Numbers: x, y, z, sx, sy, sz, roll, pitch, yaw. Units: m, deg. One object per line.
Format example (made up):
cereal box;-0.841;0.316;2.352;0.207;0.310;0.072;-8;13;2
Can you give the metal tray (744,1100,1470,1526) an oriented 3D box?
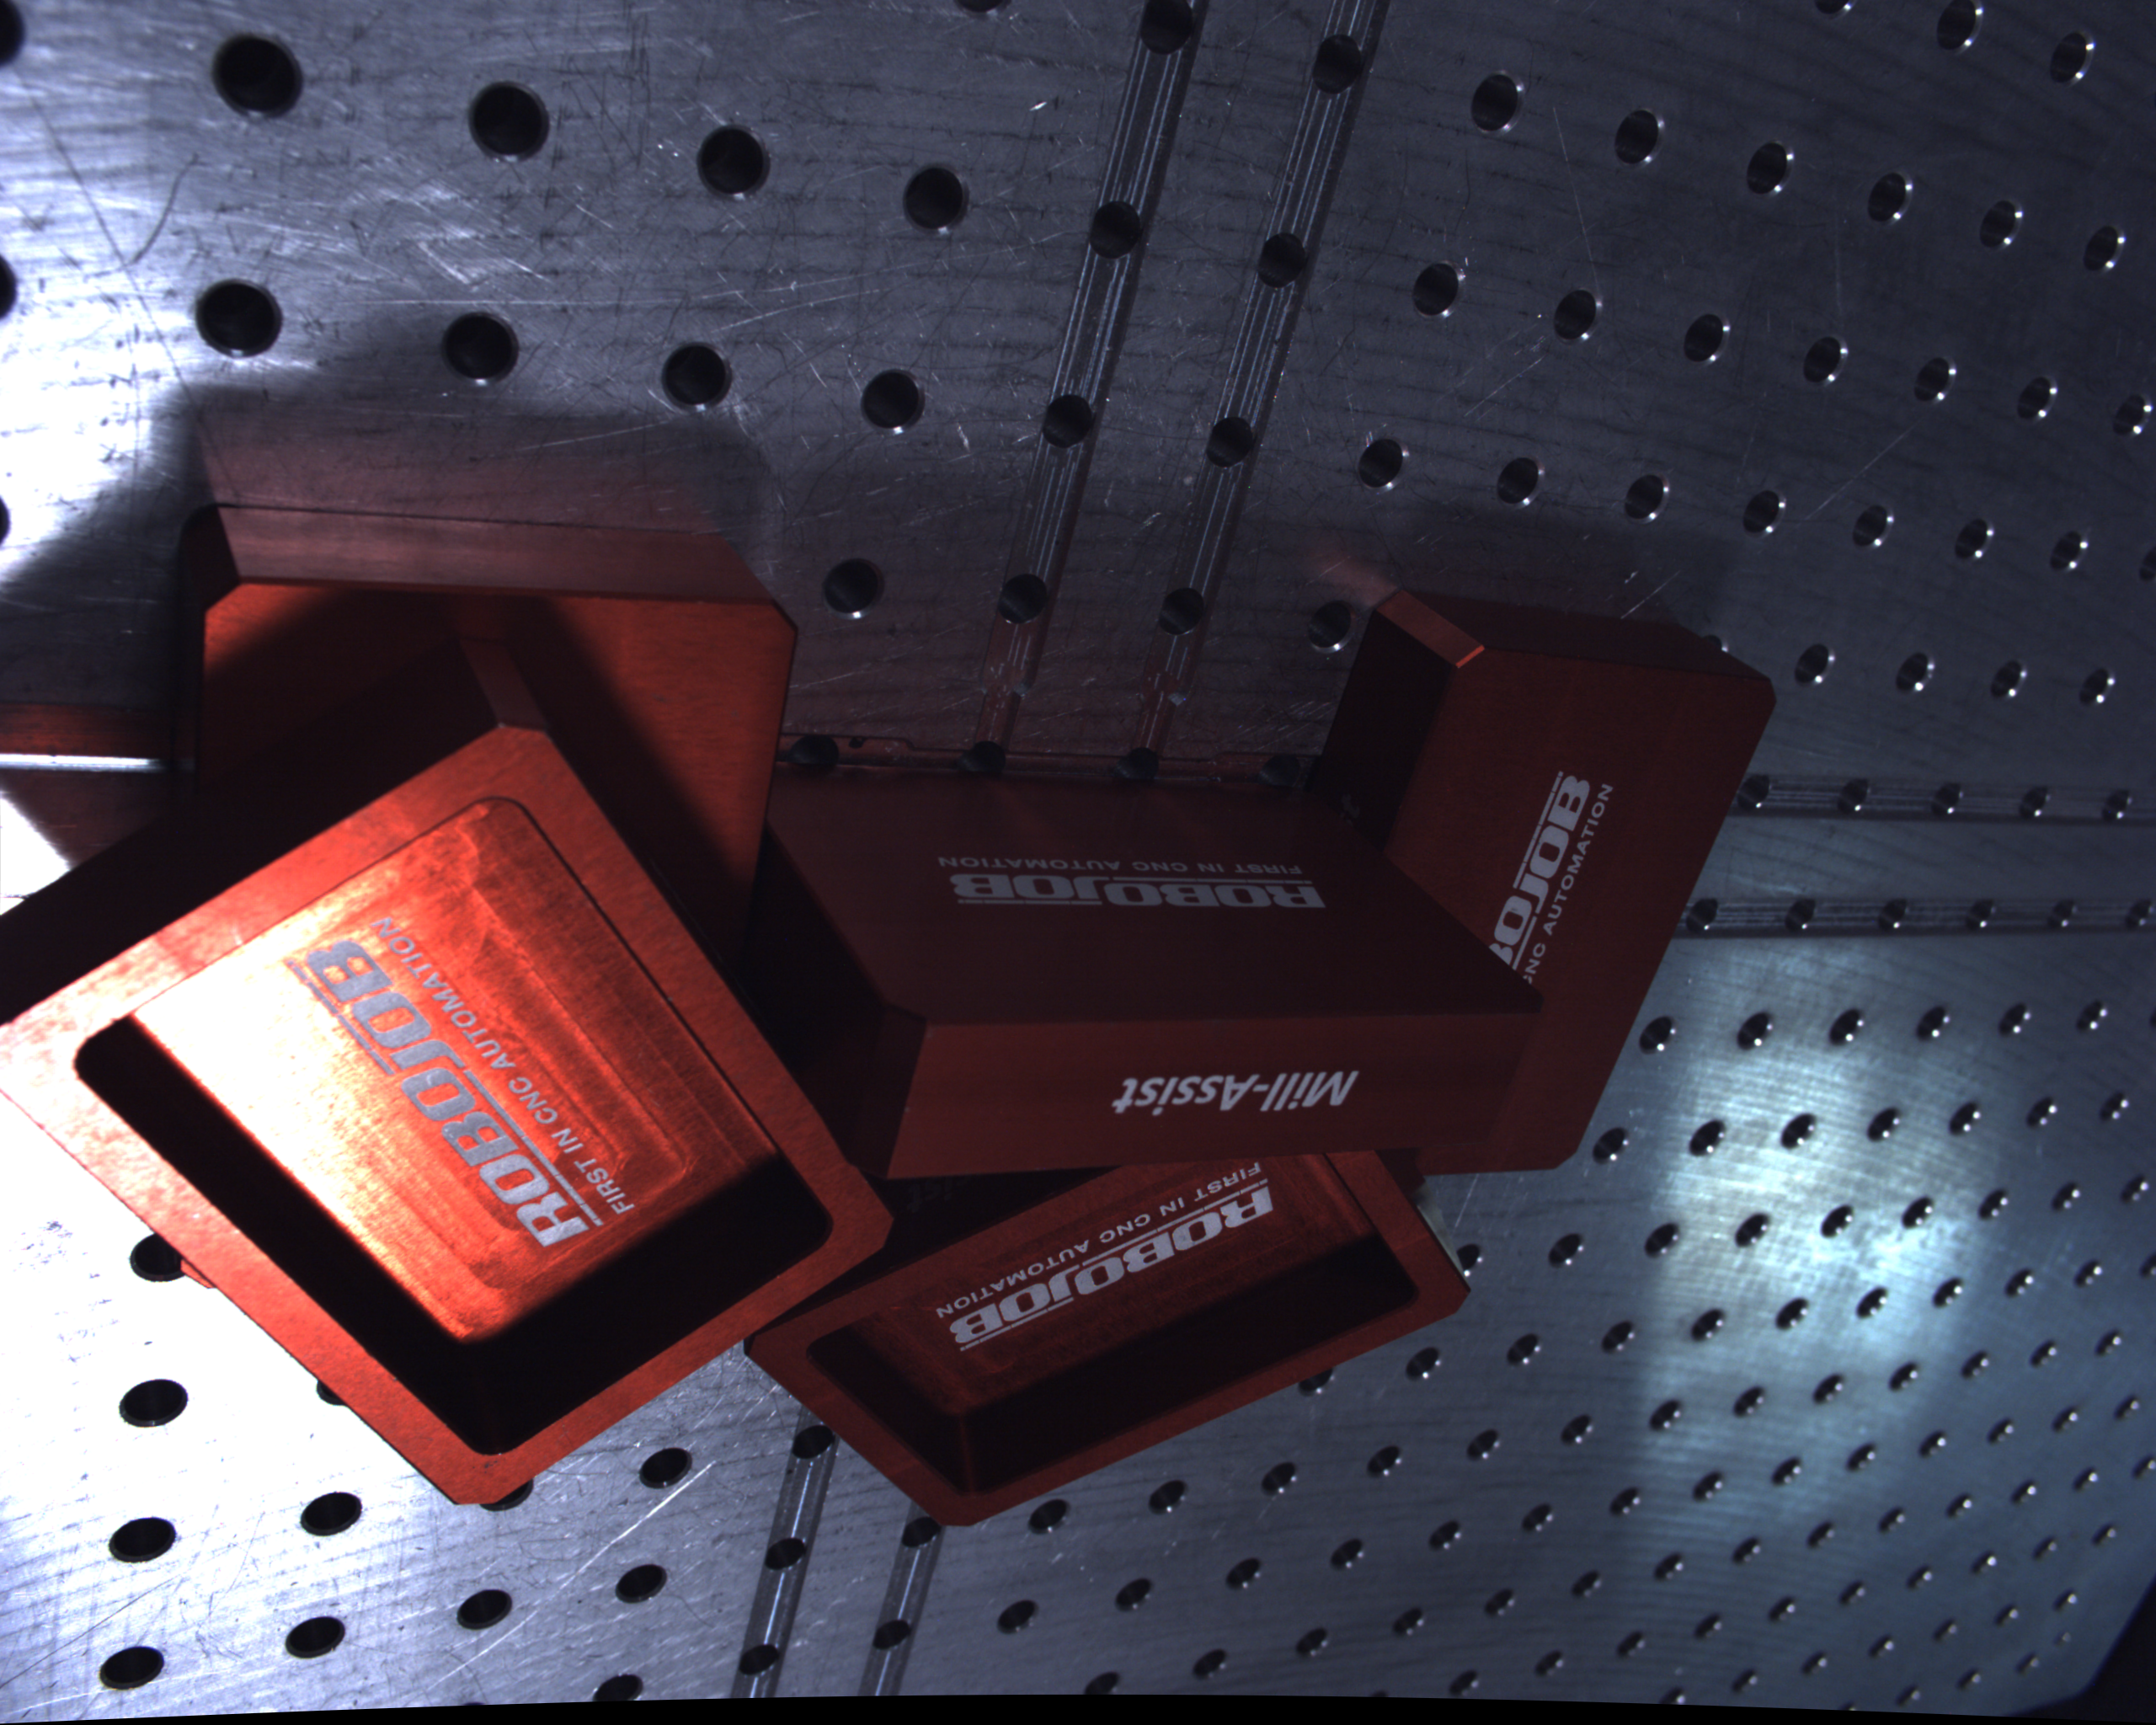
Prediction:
metal tray;0.006;0.086;0.442;0.130;0.030;0.090;-26;131;10

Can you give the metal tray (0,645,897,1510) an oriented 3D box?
metal tray;-0.098;0.040;0.339;0.090;0.030;0.130;-33;130;-7

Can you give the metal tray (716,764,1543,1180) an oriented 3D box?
metal tray;0.008;0.017;0.384;0.131;0.090;0.030;1;118;-30

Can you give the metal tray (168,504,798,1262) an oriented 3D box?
metal tray;-0.105;0.007;0.356;0.091;0.030;0.129;-1;120;-28

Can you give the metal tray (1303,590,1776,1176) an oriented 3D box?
metal tray;0.090;0.009;0.463;0.091;0.030;0.129;3;117;-30
